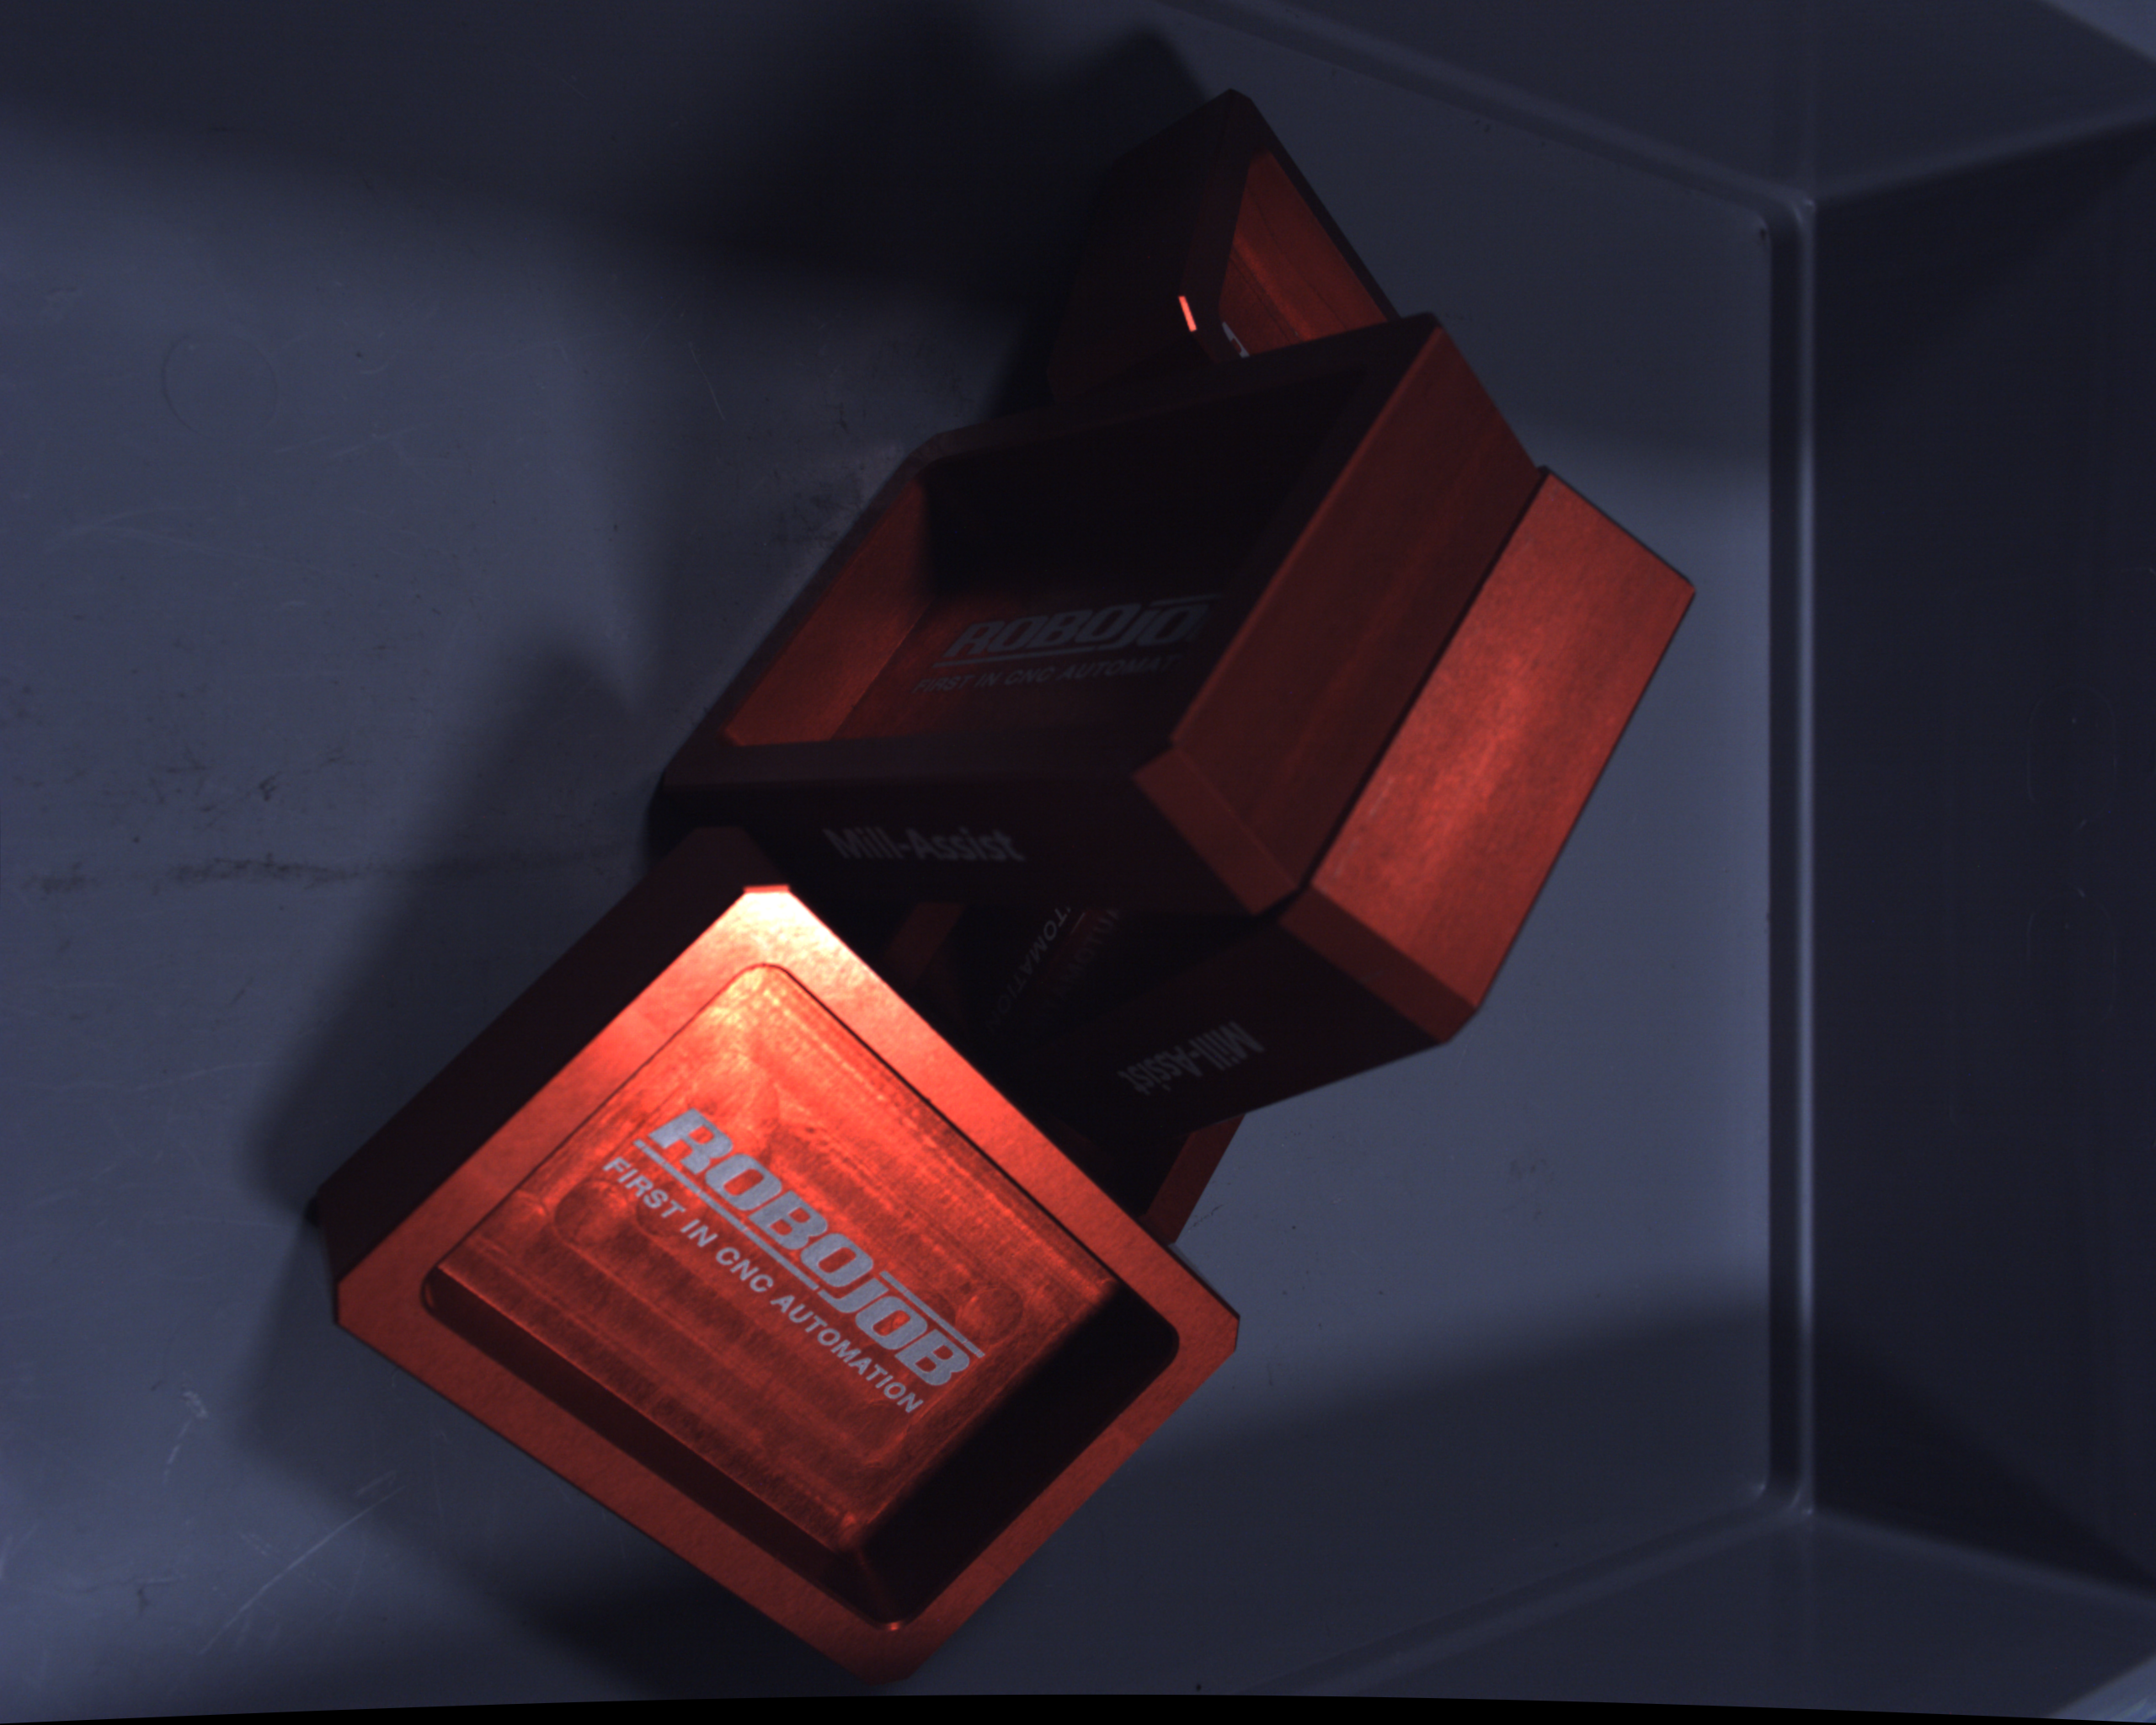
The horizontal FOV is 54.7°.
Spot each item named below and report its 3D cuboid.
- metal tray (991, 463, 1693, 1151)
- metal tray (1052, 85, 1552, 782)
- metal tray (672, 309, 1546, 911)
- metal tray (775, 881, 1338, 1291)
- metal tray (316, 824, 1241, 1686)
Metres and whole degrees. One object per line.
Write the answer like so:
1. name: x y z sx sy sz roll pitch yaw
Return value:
1. metal tray: 0.039 -0.003 0.355 0.030 0.130 0.090 37 65 -9
2. metal tray: 0.052 -0.081 0.424 0.130 0.030 0.090 46 37 -30
3. metal tray: 0.000 -0.037 0.336 0.030 0.130 0.090 48 62 -29
4. metal tray: 0.008 0.007 0.409 0.090 0.030 0.130 47 62 -30
5. metal tray: -0.044 0.068 0.343 0.090 0.030 0.130 -45 120 -4
